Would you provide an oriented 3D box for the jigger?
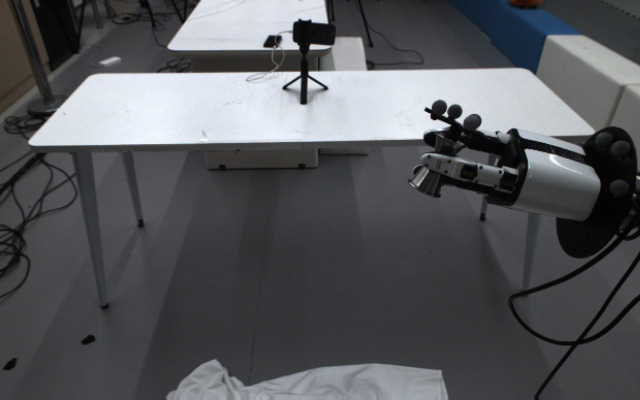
[{"bbox_3d":[0.138,-0.043,0.577,0.043,0.071,0.043,23,19,-8],"label":"jigger"}]
